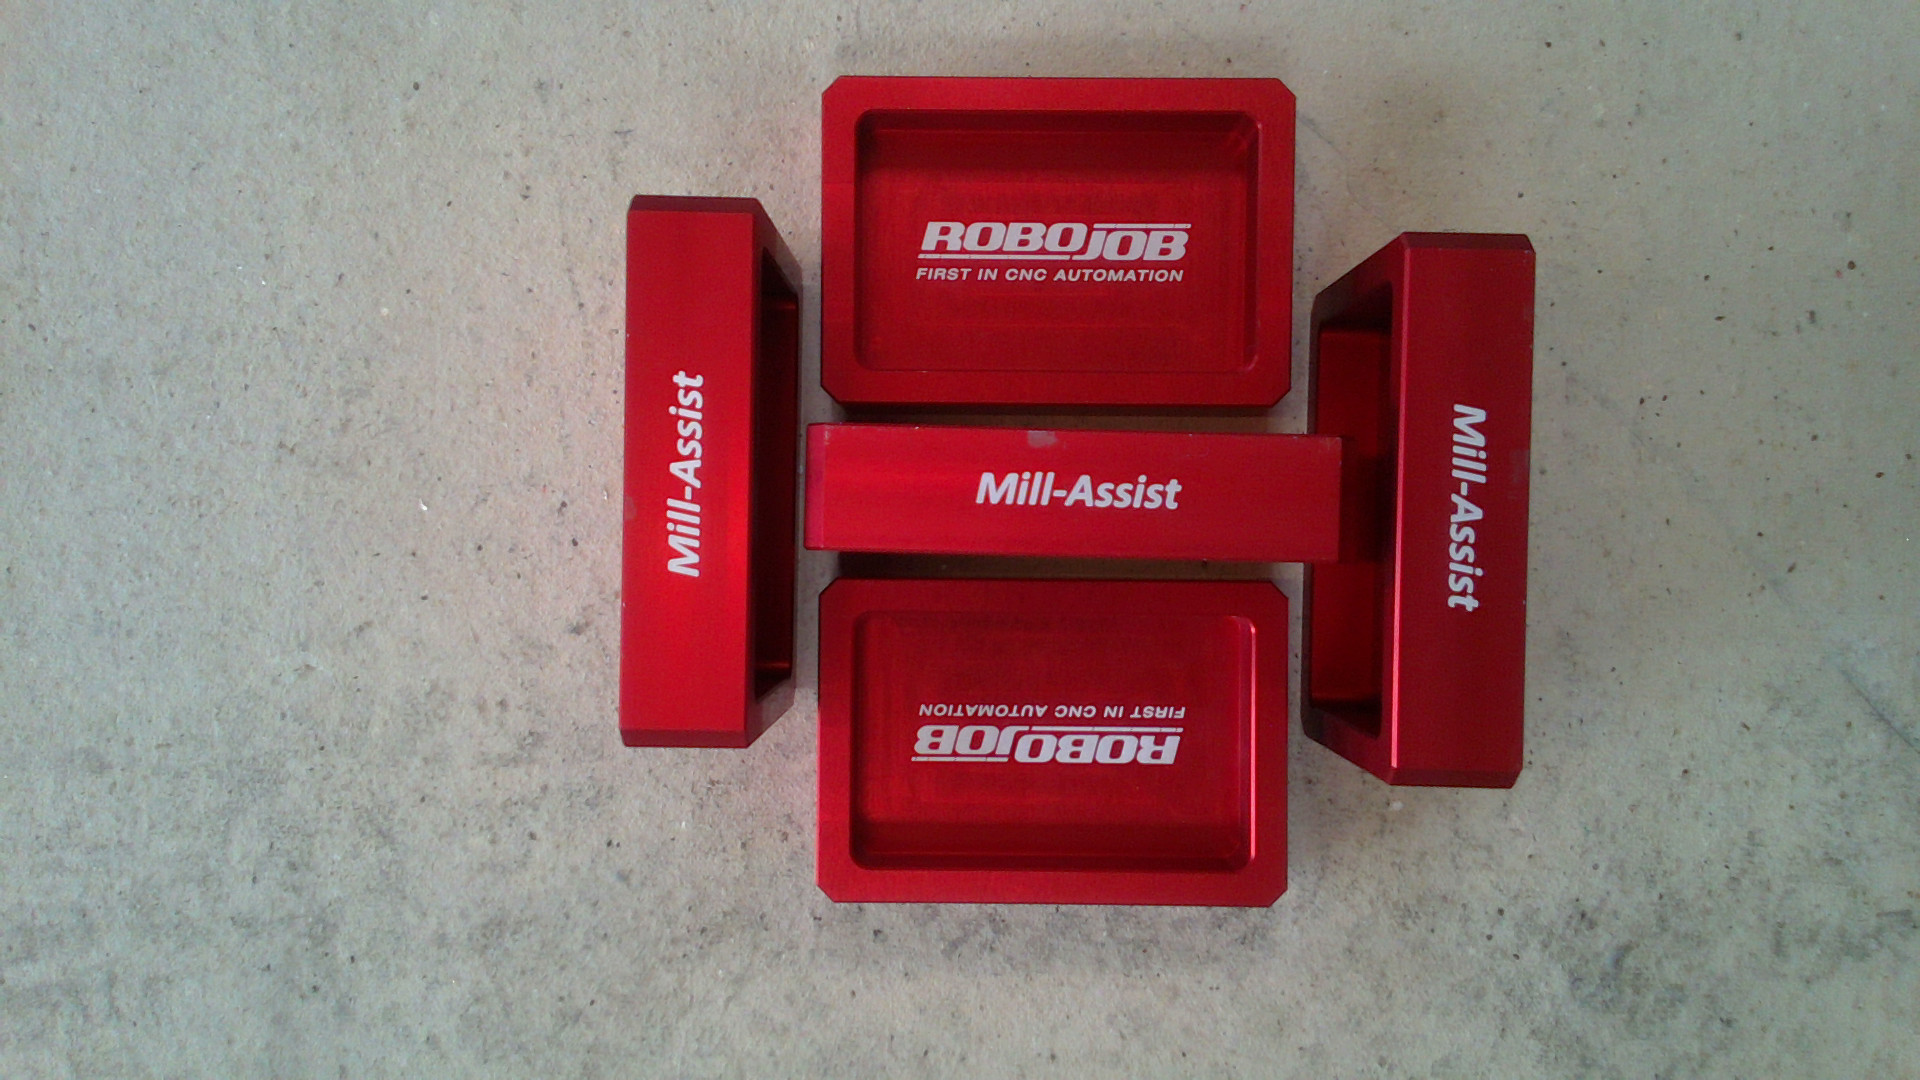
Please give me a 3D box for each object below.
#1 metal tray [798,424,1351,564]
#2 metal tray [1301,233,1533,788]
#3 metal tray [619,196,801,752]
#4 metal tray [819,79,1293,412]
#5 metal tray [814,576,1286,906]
[{"bbox_3d":[0.027,-0.012,0.365,0.130,0.090,0.030,1,91,0],"label":"metal tray"},{"bbox_3d":[0.117,-0.007,0.364,0.030,0.090,0.130,1,90,0],"label":"metal tray"},{"bbox_3d":[-0.063,-0.016,0.363,0.030,0.090,0.130,1,91,0],"label":"metal tray"},{"bbox_3d":[0.026,-0.082,0.393,0.130,0.030,0.090,0,93,0],"label":"metal tray"},{"bbox_3d":[0.025,0.056,0.395,0.130,0.030,0.090,1,89,0],"label":"metal tray"}]
